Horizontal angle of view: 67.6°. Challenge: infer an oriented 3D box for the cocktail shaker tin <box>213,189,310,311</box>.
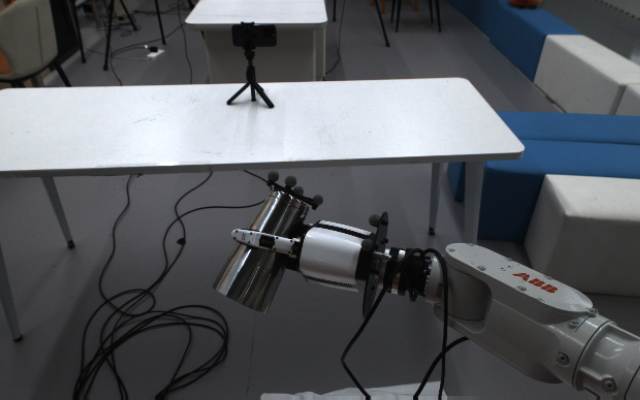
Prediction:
[{"bbox_3d":[-0.082,0.071,0.734,0.093,0.093,0.170,21,81,25],"label":"cocktail shaker tin"}]
